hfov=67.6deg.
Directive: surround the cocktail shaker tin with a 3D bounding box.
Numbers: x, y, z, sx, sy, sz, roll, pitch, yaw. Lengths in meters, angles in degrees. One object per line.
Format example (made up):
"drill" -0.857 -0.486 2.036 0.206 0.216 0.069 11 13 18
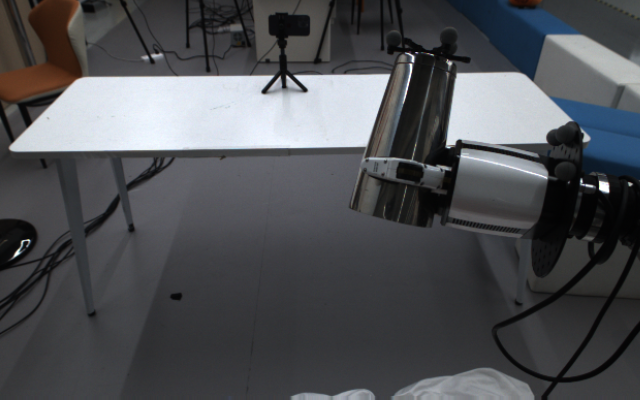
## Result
"cocktail shaker tin" 0.096 -0.064 0.522 0.093 0.170 0.093 13 4 -1
